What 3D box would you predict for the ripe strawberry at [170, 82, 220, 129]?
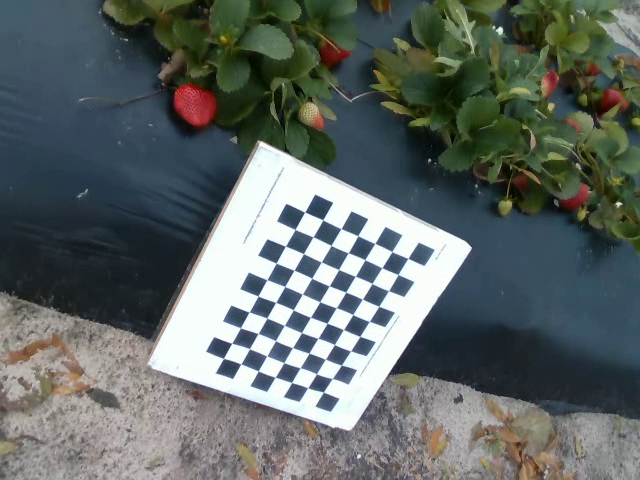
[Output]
[{"bbox_3d":[-0.107,-0.110,0.442,0.037,0.046,0.036,-16,-26,4],"label":"ripe strawberry"}]
